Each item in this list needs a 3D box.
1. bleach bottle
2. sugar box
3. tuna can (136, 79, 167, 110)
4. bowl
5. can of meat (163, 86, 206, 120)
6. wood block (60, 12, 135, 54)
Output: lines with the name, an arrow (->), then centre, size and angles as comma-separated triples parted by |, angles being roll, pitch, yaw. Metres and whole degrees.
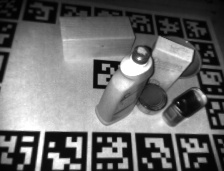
bleach bottle -> 0.026, -0.007, 0.490 | 0.103, 0.251, 0.067 | -22, 67, -19
sugar box -> 0.140, -0.060, 0.581 | 0.092, 0.177, 0.045 | 19, 63, 5
tuna can -> 0.109, 0.026, 0.610 | 0.086, 0.034, 0.085 | 4, 65, -8
bowl -> 0.207, -0.099, 0.687 | 0.162, 0.055, 0.161 | 3, 62, -5
can of meat -> 0.196, 0.044, 0.597 | 0.102, 0.084, 0.057 | -26, 66, -23
wood block -> -0.048, -0.159, 0.651 | 0.208, 0.090, 0.090 | -5, 68, -15
